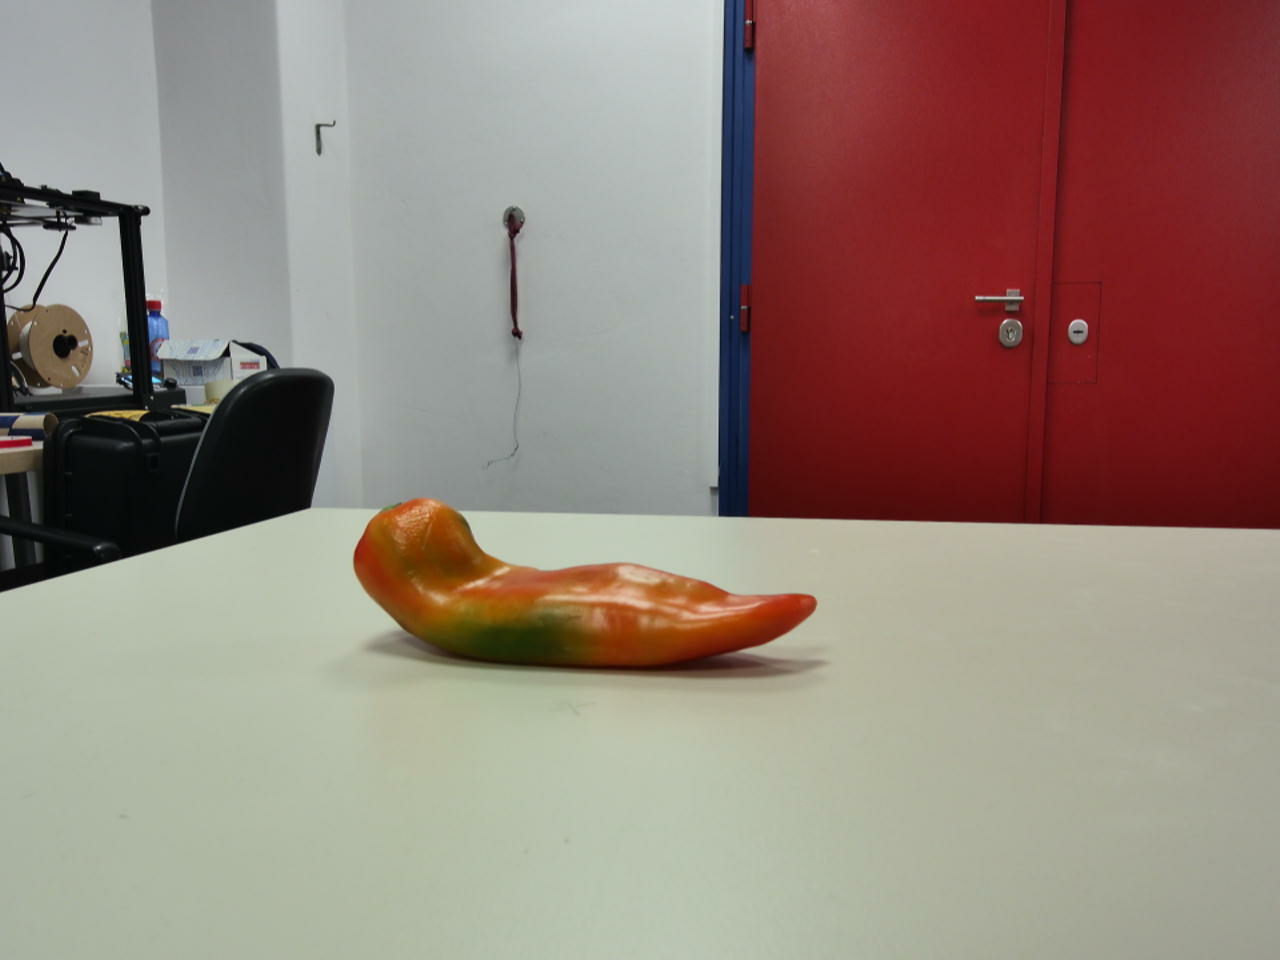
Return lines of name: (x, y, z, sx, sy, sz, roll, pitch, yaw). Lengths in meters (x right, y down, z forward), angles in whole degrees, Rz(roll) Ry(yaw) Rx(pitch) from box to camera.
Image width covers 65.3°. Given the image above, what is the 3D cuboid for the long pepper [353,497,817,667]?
long pepper: (-0.027, 0.042, 0.418, 0.199, 0.065, 0.066, 1, 4, 18)
